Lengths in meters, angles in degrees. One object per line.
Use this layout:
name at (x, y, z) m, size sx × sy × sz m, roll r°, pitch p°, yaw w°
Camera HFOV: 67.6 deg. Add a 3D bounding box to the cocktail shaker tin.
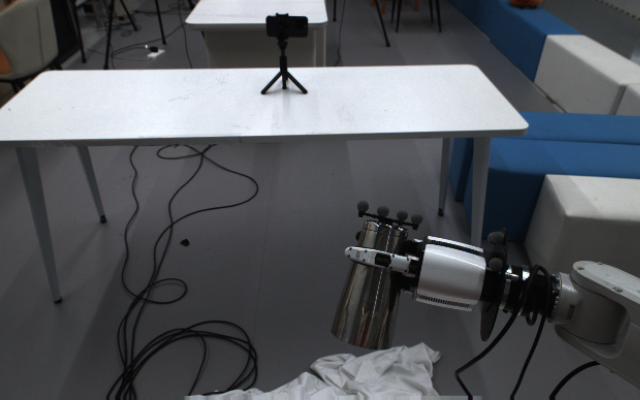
cocktail shaker tin at (0.082, 0.116, 0.708) m, size 0.093 × 0.170 × 0.093 m, roll 13°, pitch 1°, yaw 0°
